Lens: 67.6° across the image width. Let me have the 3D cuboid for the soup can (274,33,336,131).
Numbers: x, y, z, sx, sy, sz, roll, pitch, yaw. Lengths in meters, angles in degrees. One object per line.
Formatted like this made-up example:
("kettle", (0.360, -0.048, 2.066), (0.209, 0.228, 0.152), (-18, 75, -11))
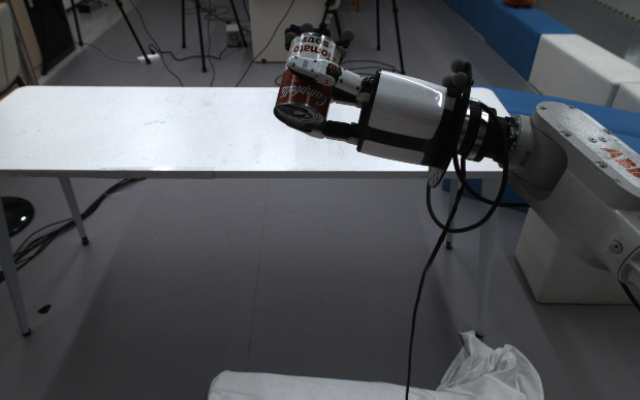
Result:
("soup can", (-0.015, -0.151, 0.615), (0.067, 0.067, 0.101), (9, 74, 9))
